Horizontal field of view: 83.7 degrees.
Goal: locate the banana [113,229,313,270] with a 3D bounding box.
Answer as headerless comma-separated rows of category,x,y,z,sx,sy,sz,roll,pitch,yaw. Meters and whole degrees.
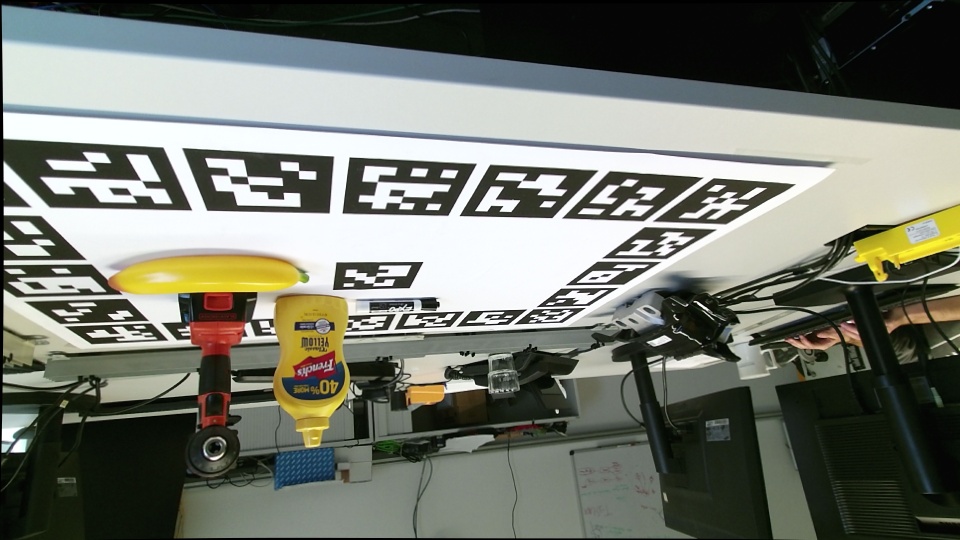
banana,-0.275,-0.022,0.573,0.198,0.038,0.074,2,154,-27

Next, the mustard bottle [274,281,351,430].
mustard bottle,-0.220,0.112,0.707,0.096,0.190,0.058,6,154,-29

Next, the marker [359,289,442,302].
marker,-0.115,0.037,0.789,0.121,0.019,0.019,1,155,-21

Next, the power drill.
power drill,-0.298,0.101,0.610,0.057,0.186,0.185,8,155,-31
